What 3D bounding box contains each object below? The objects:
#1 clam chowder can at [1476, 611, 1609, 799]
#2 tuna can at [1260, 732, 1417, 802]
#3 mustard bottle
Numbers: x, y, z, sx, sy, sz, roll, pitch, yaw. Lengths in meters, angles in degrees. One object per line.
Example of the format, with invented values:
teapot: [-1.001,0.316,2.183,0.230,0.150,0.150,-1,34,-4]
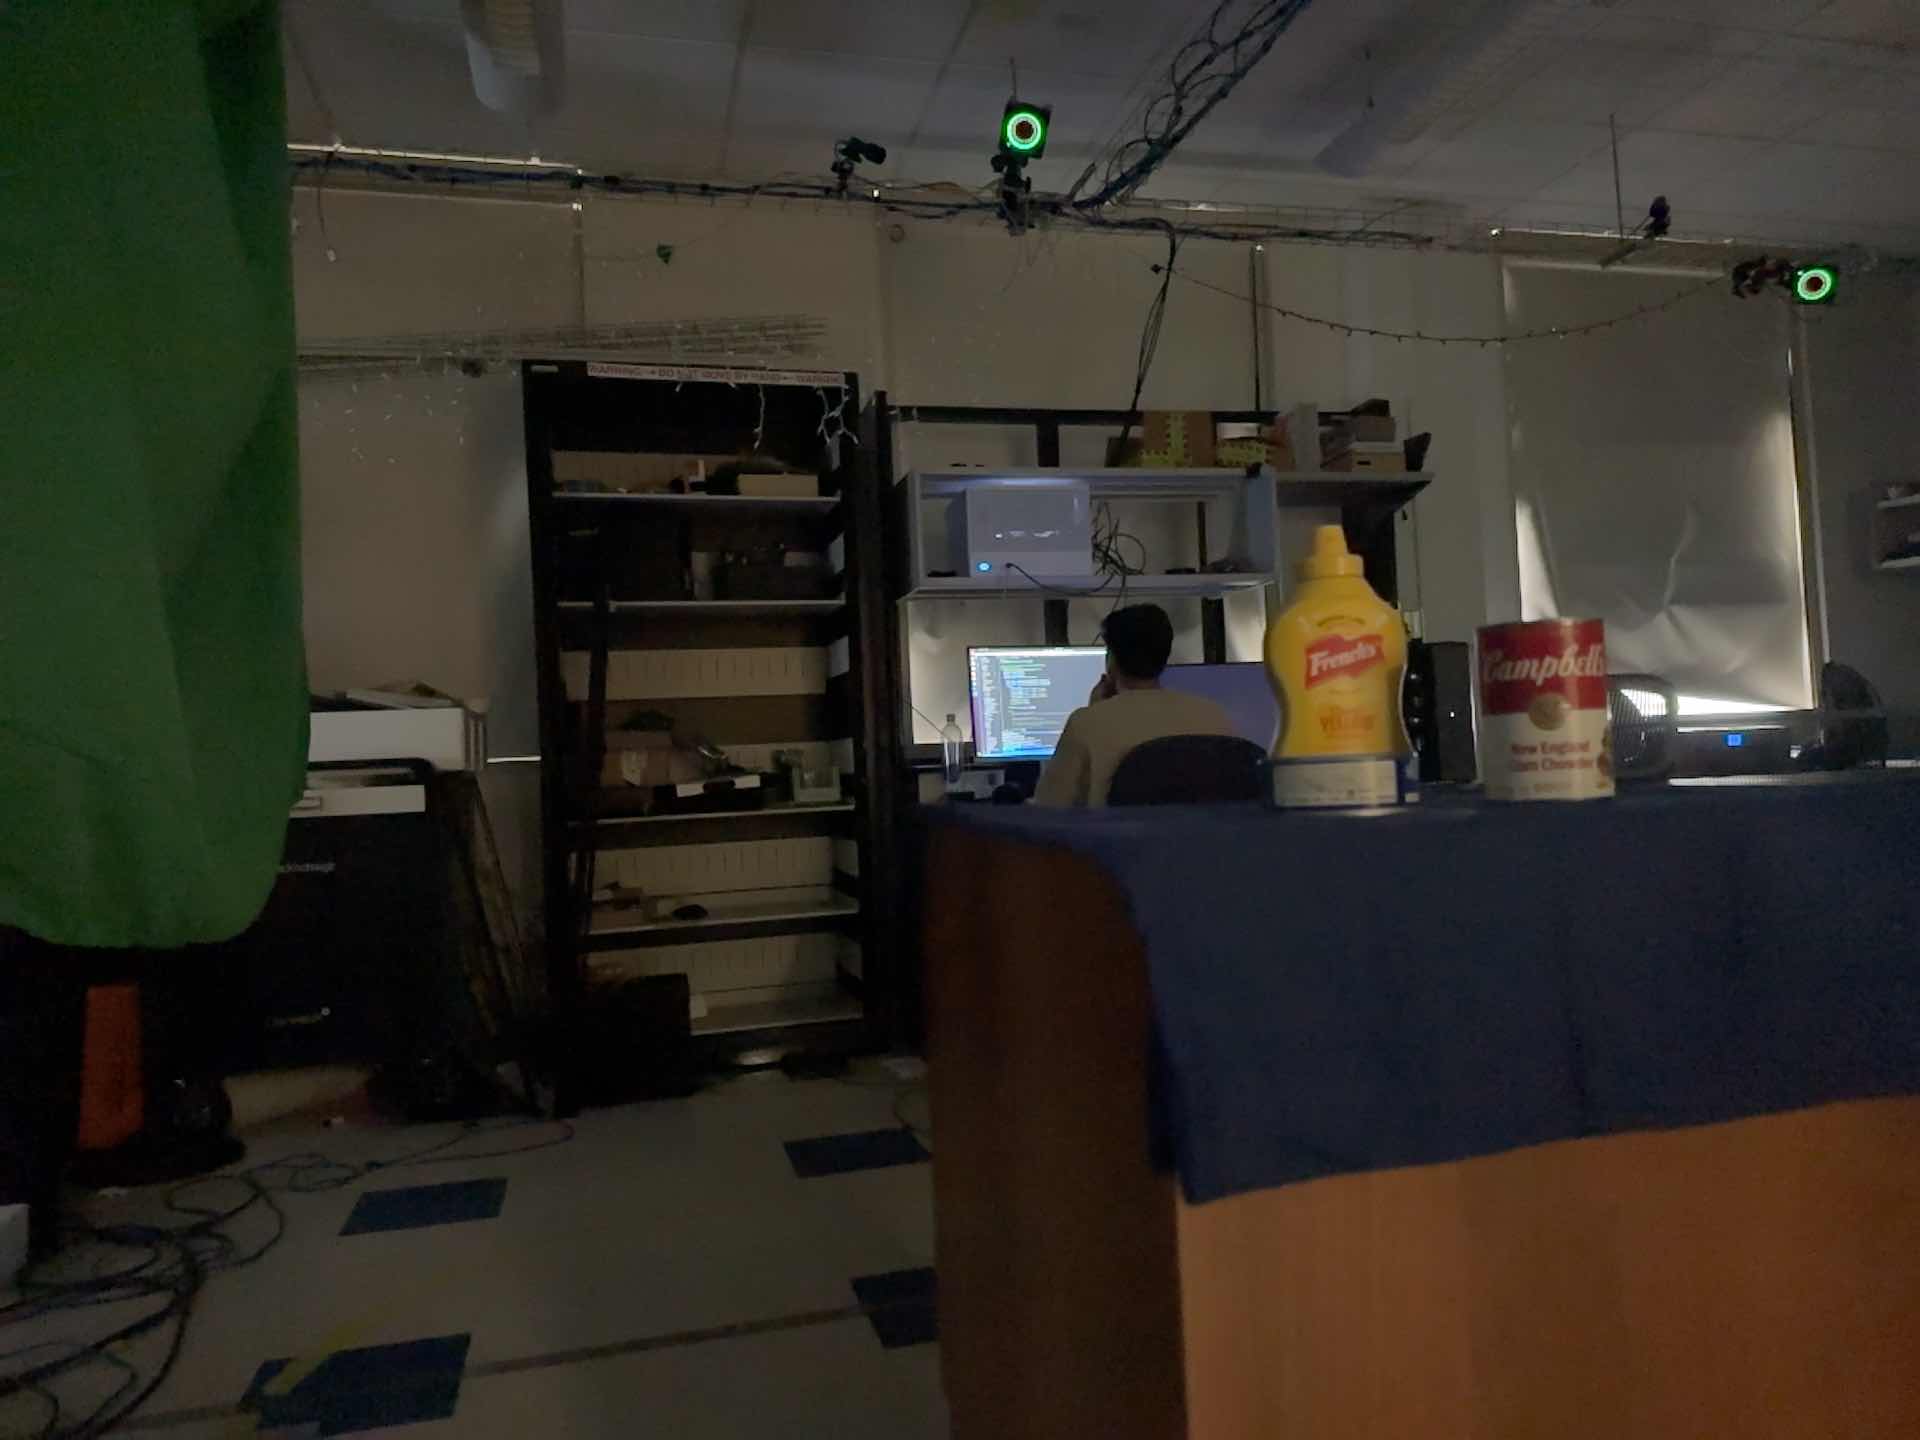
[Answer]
clam chowder can: [0.329,-0.009,0.759,0.068,0.102,0.068,-2,1,0]
tuna can: [0.210,0.025,0.749,0.083,0.034,0.083,-2,1,0]
mustard bottle: [0.238,-0.031,0.840,0.092,0.184,0.054,-1,3,1]
